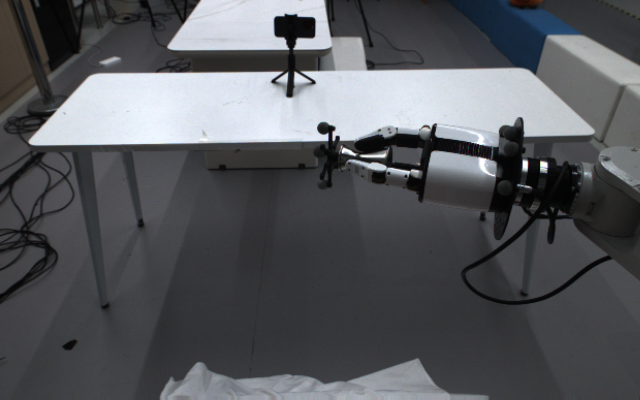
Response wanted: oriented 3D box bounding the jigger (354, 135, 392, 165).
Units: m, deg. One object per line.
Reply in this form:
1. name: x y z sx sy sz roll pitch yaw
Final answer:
1. jigger: 0.069 -0.058 0.670 0.071 0.043 0.043 6 34 16
